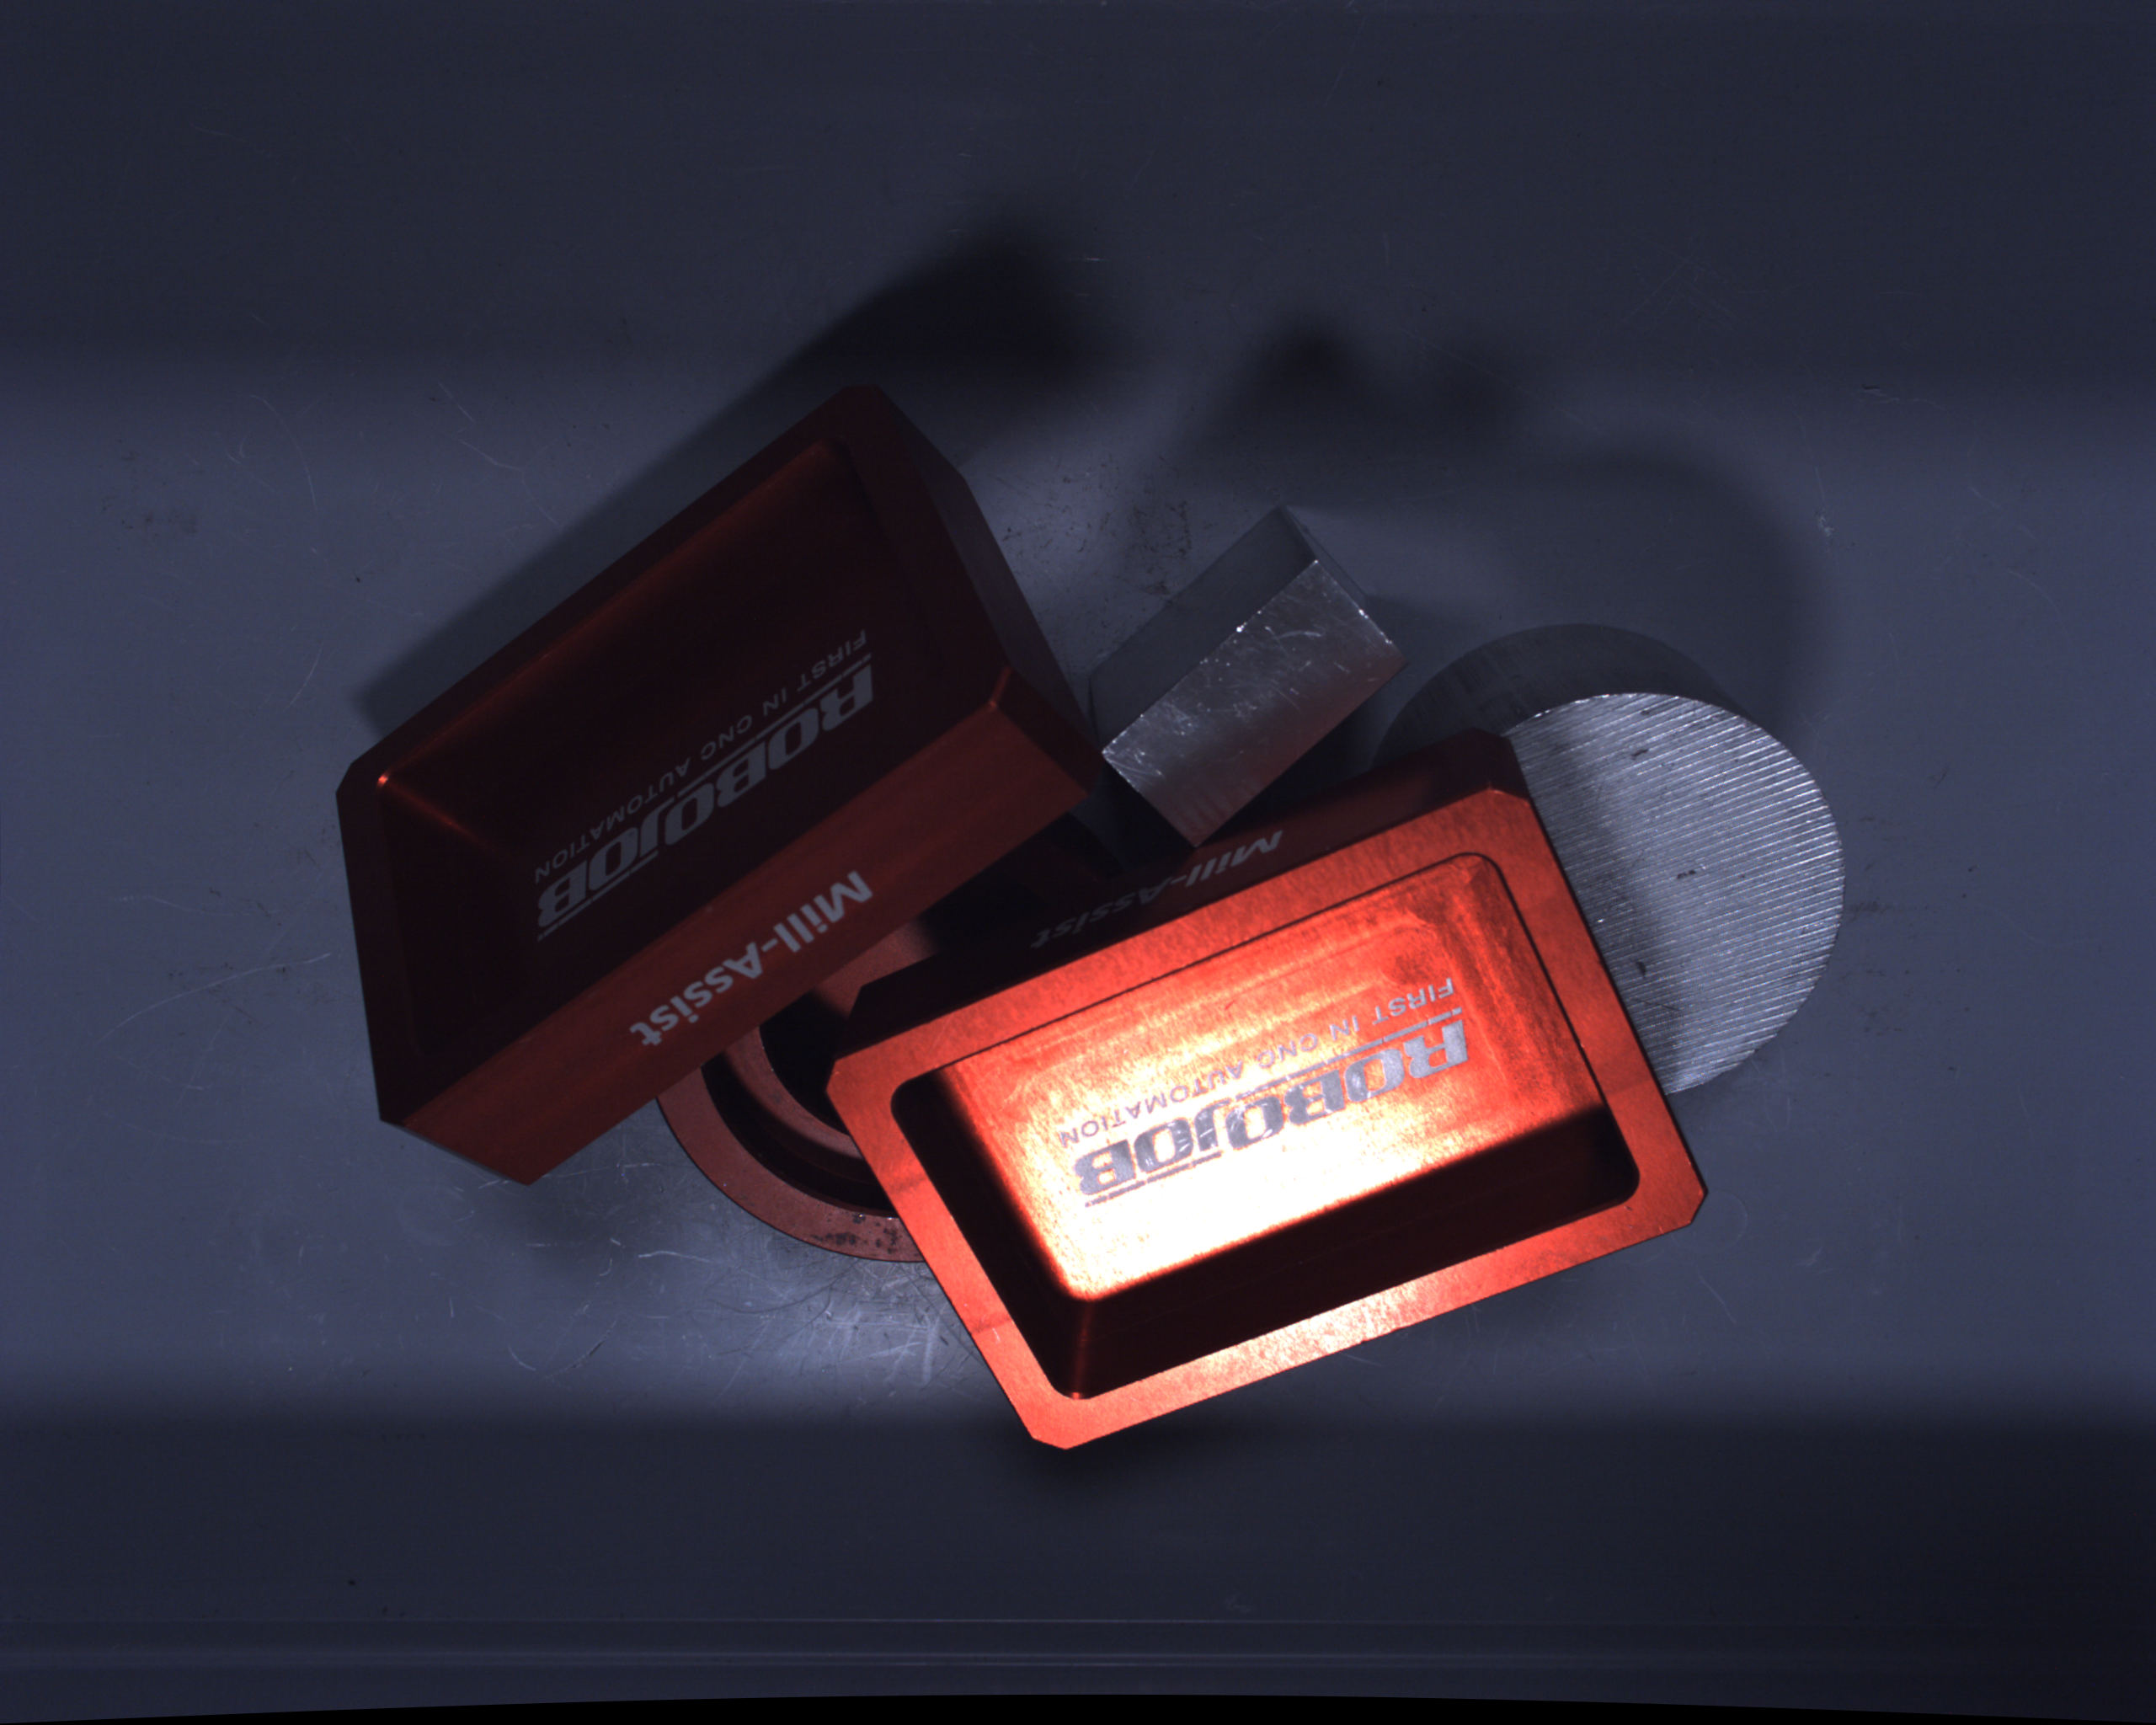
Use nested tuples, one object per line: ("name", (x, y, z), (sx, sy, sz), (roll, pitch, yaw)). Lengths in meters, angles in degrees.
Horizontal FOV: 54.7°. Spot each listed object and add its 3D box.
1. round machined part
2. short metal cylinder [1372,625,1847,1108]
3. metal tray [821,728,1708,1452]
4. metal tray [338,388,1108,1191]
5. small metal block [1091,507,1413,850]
("round machined part", (-0.033, 0.026, 0.411), (0.099, 0.042, 0.097), (0, 110, -1))
("short metal cylinder", (0.097, 0.000, 0.397), (0.081, 0.050, 0.079), (0, 110, -1))
("metal tray", (0.033, 0.043, 0.372), (0.130, 0.030, 0.090), (-24, 108, 12))
("metal tray", (-0.068, -0.014, 0.367), (0.130, 0.090, 0.030), (-35, 138, 11))
("small metal block", (0.030, -0.035, 0.383), (0.050, 0.050, 0.025), (-41, 105, 12))
